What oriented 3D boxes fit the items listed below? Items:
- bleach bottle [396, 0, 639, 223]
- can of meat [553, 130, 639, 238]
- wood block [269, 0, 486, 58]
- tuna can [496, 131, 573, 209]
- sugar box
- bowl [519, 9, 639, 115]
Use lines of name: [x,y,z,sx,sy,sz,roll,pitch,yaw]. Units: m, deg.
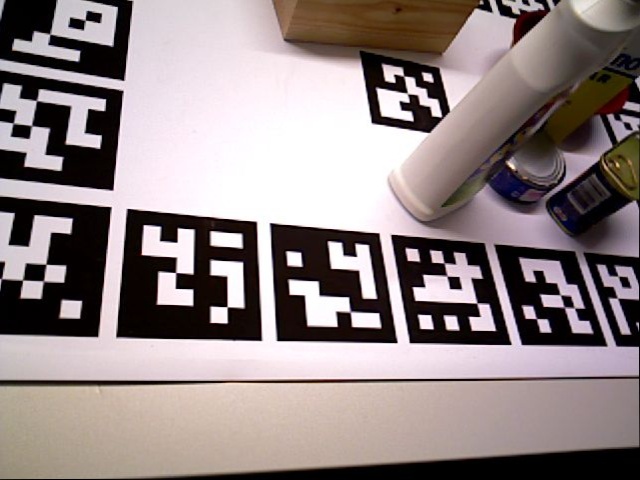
bleach bottle: [0.161,-0.113,0.429,0.100,0.257,0.068,-22,71,-30]
can of meat: [0.303,-0.056,0.562,0.099,0.086,0.057,-27,72,-33]
wood block: [0.057,-0.265,0.573,0.203,0.092,0.090,-4,68,-25]
tuna can: [0.215,-0.076,0.560,0.085,0.034,0.085,8,63,-17]
sugar box: [0.254,-0.163,0.536,0.092,0.180,0.044,21,58,-6]
bowl: [0.297,-0.199,0.651,0.160,0.056,0.159,7,60,-14]
